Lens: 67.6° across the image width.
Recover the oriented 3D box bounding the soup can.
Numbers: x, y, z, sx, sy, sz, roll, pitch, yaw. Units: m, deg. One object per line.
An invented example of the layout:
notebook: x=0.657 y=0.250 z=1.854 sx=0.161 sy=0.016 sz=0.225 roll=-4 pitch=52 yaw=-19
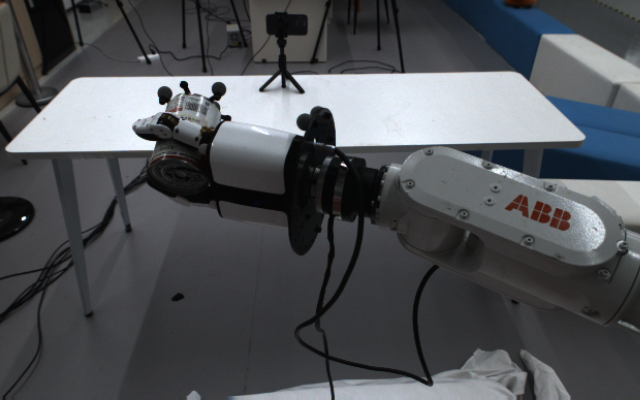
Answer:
soup can: x=-0.155 y=-0.065 z=0.562 sx=0.067 sy=0.067 sz=0.101 roll=3 pitch=56 yaw=1
